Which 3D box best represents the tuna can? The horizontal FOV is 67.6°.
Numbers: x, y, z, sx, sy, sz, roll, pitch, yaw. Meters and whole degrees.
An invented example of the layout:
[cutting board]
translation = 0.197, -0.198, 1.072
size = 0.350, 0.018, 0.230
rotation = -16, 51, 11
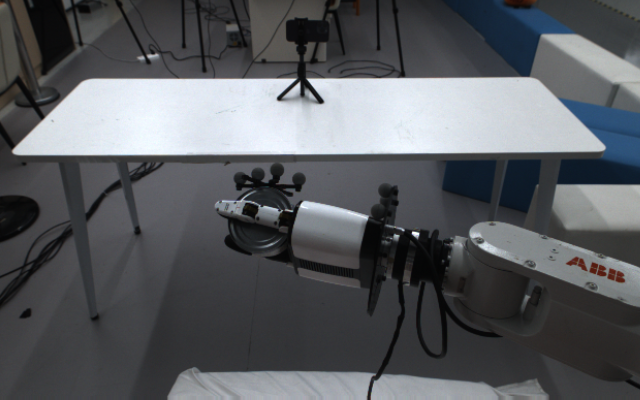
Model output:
[tuna can]
translation = -0.070, 0.027, 0.615
size = 0.085, 0.034, 0.085
rotation = -3, 73, 10
